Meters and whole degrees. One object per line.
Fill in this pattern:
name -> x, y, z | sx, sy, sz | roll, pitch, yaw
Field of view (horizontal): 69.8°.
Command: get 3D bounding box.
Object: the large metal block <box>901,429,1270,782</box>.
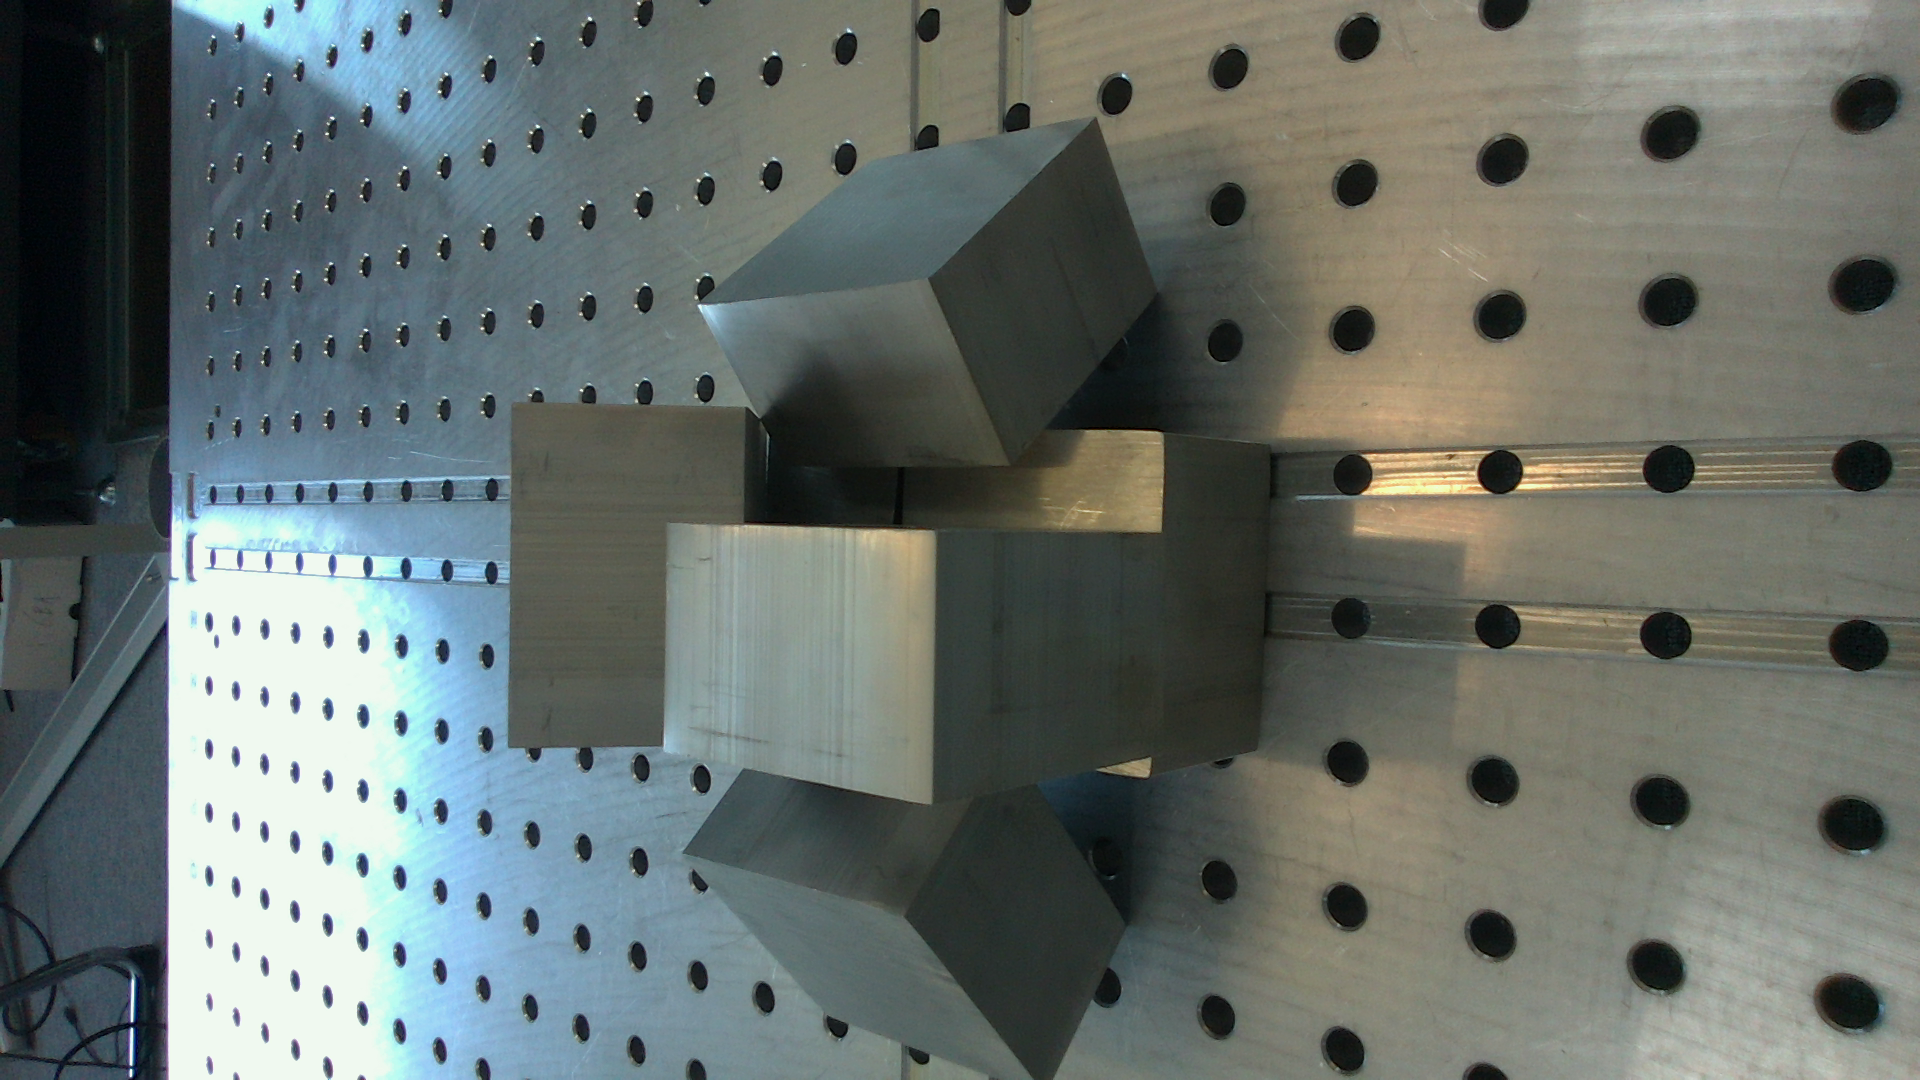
large metal block -> 0.030, 0.013, 0.356 | 0.080, 0.050, 0.080 | 4, 92, 40

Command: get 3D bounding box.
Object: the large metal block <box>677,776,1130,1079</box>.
large metal block -> -0.013, 0.094, 0.366 | 0.080, 0.050, 0.080 | 3, 136, 40

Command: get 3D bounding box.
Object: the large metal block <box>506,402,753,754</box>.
large metal block -> -0.081, 0.008, 0.354 | 0.050, 0.080, 0.080 | 1, 91, -5

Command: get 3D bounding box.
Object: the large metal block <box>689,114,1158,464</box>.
large metal block -> -0.008, -0.064, 0.359 | 0.080, 0.080, 0.050 | 3, 130, 40

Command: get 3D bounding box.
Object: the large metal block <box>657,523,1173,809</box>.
large metal block -> -0.009, 0.023, 0.304 | 0.080, 0.080, 0.050 | 2, 91, 40

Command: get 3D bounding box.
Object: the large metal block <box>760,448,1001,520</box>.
large metal block -> -0.034, 0.009, 0.410 | 0.080, 0.050, 0.080 | 9, 96, 40
